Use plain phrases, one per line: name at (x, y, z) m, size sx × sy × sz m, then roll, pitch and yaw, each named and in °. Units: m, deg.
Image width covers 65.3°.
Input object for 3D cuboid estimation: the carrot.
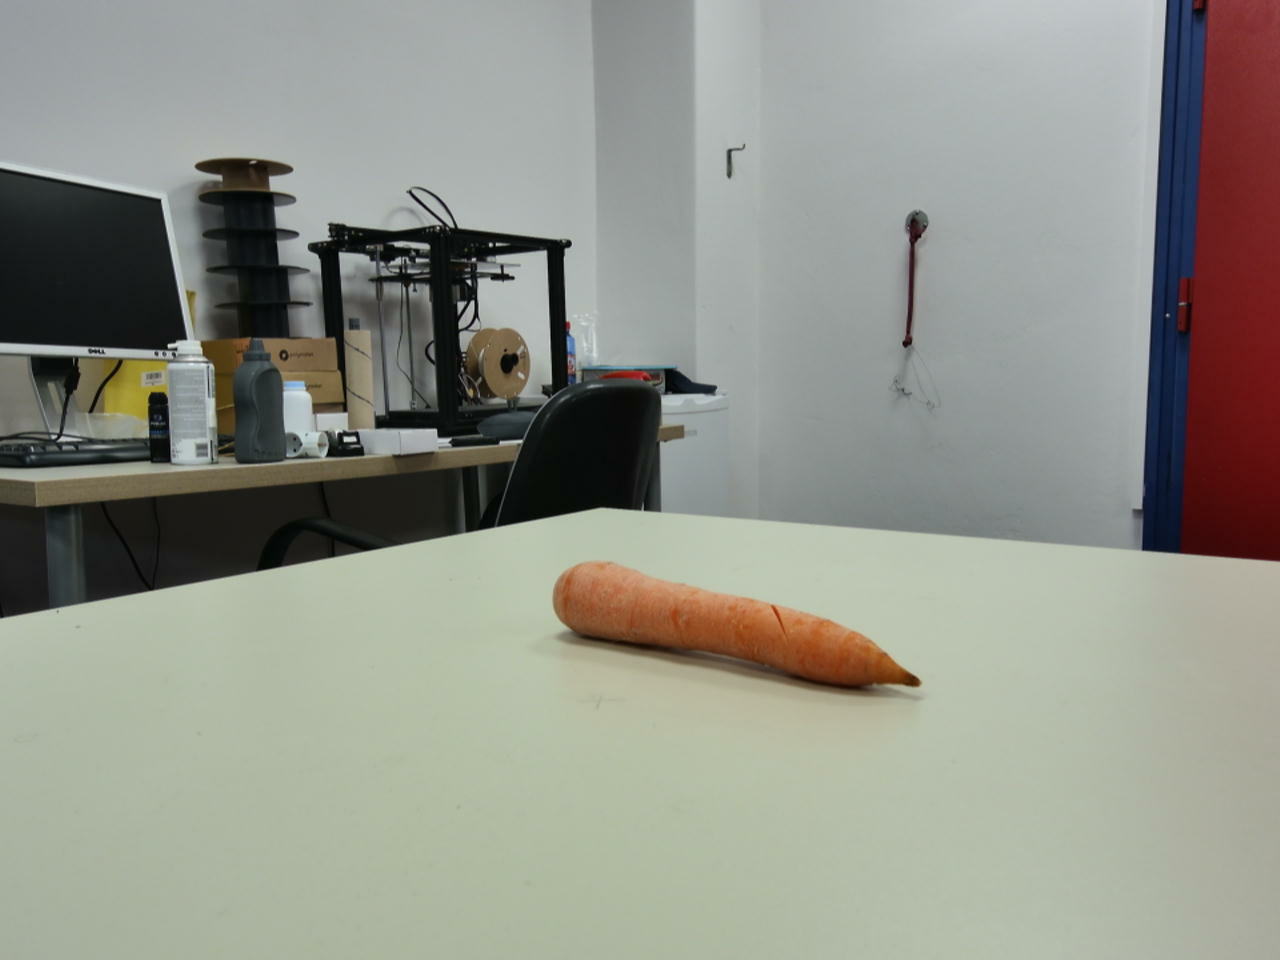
carrot at (0.038, 0.065, 0.471) m, size 0.196 × 0.041 × 0.039 m, roll 3°, pitch 5°, yaw 37°
